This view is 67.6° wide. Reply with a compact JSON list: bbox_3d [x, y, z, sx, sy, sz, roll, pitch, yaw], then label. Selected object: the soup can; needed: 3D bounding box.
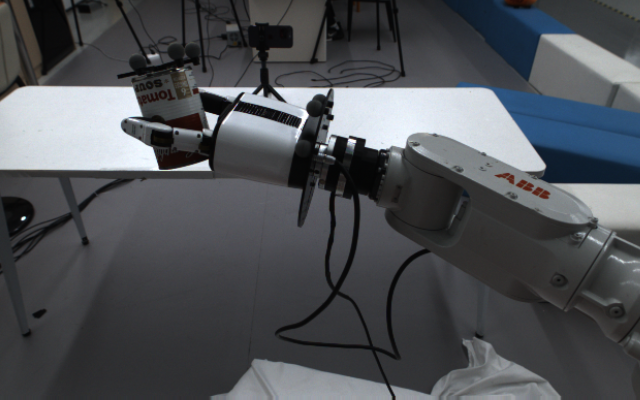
[{"bbox_3d":[-0.161,-0.091,0.544,0.067,0.101,0.067,-12,17,4],"label":"soup can"}]
